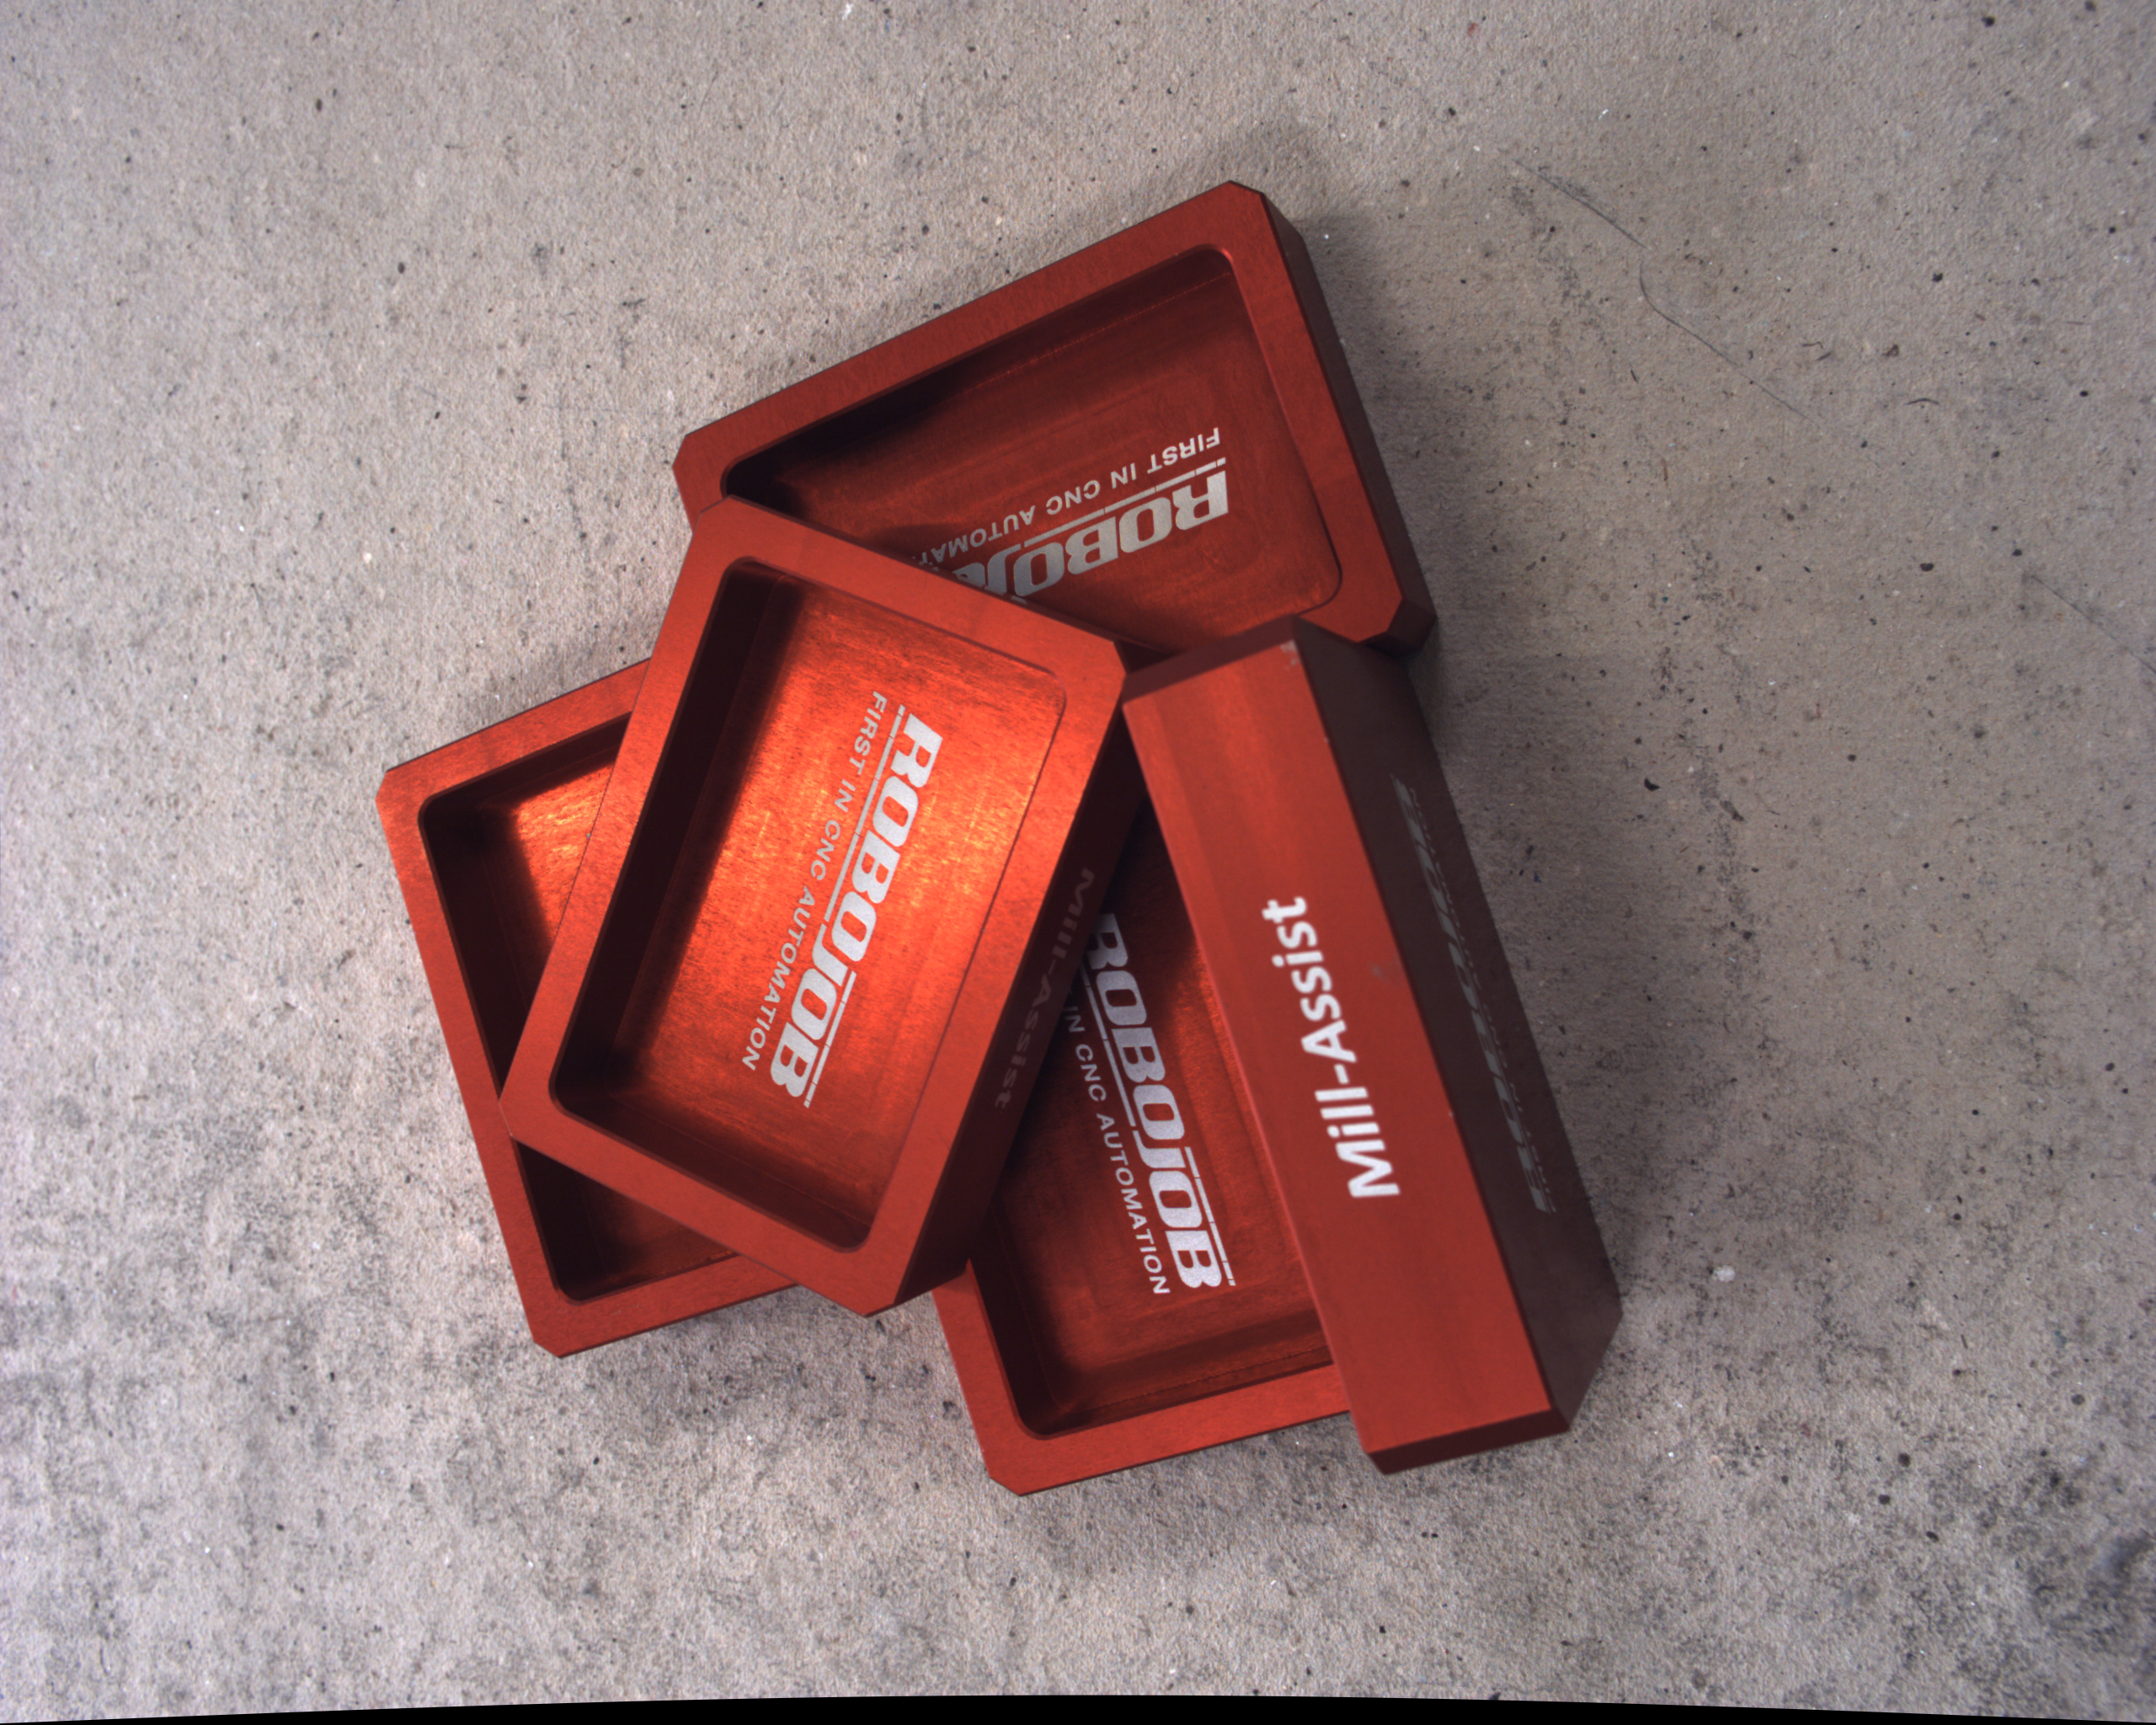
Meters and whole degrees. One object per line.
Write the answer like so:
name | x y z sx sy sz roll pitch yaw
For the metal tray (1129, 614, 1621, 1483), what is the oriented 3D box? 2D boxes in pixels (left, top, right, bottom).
metal tray | 0.054 0.027 0.354 0.030 0.090 0.129 -19 84 19

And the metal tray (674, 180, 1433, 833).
metal tray | -0.007 -0.064 0.411 0.130 0.030 0.090 -20 84 19

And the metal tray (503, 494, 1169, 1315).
metal tray | -0.046 0.007 0.393 0.090 0.030 0.129 23 98 19

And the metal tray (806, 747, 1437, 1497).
metal tray | 0.009 0.046 0.402 0.090 0.030 0.129 -20 84 19

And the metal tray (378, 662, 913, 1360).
metal tray | -0.086 0.028 0.437 0.090 0.030 0.129 -20 83 19
